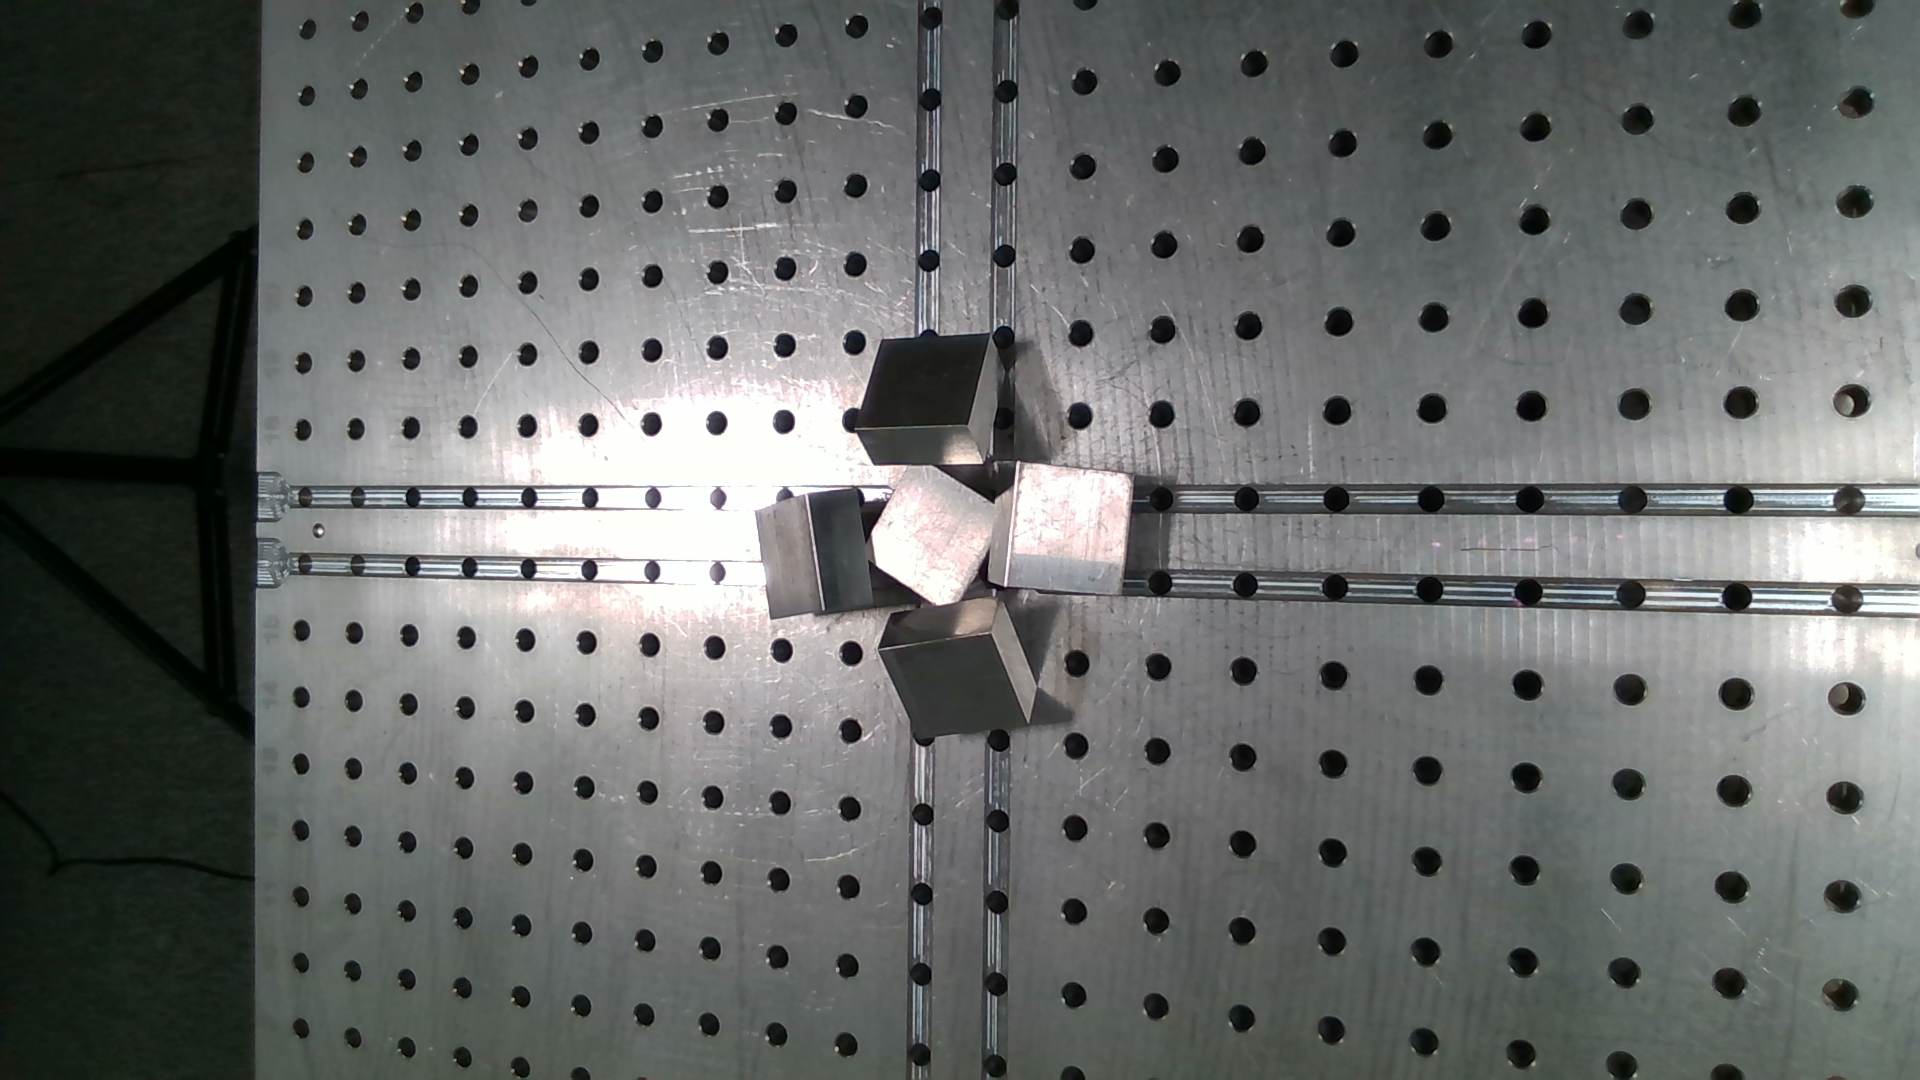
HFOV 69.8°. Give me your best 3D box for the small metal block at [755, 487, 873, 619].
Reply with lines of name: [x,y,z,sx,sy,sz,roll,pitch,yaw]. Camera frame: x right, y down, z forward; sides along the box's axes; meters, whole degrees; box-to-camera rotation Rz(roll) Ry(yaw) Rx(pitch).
small metal block: [-0.065,0.006,0.599,0.050,0.025,0.050,-13,85,56]

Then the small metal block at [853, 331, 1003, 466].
small metal block: [-0.012,-0.059,0.580,0.050,0.025,0.050,0,56,20]

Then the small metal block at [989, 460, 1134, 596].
small metal block: [0.040,-0.005,0.560,0.050,0.025,0.050,5,92,-16]

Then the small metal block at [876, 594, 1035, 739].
small metal block: [-0.001,0.054,0.576,0.050,0.025,0.050,-10,122,20]

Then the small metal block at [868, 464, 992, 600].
small metal block: [-0.007,-0.003,0.590,0.050,0.025,0.050,33,101,17]
